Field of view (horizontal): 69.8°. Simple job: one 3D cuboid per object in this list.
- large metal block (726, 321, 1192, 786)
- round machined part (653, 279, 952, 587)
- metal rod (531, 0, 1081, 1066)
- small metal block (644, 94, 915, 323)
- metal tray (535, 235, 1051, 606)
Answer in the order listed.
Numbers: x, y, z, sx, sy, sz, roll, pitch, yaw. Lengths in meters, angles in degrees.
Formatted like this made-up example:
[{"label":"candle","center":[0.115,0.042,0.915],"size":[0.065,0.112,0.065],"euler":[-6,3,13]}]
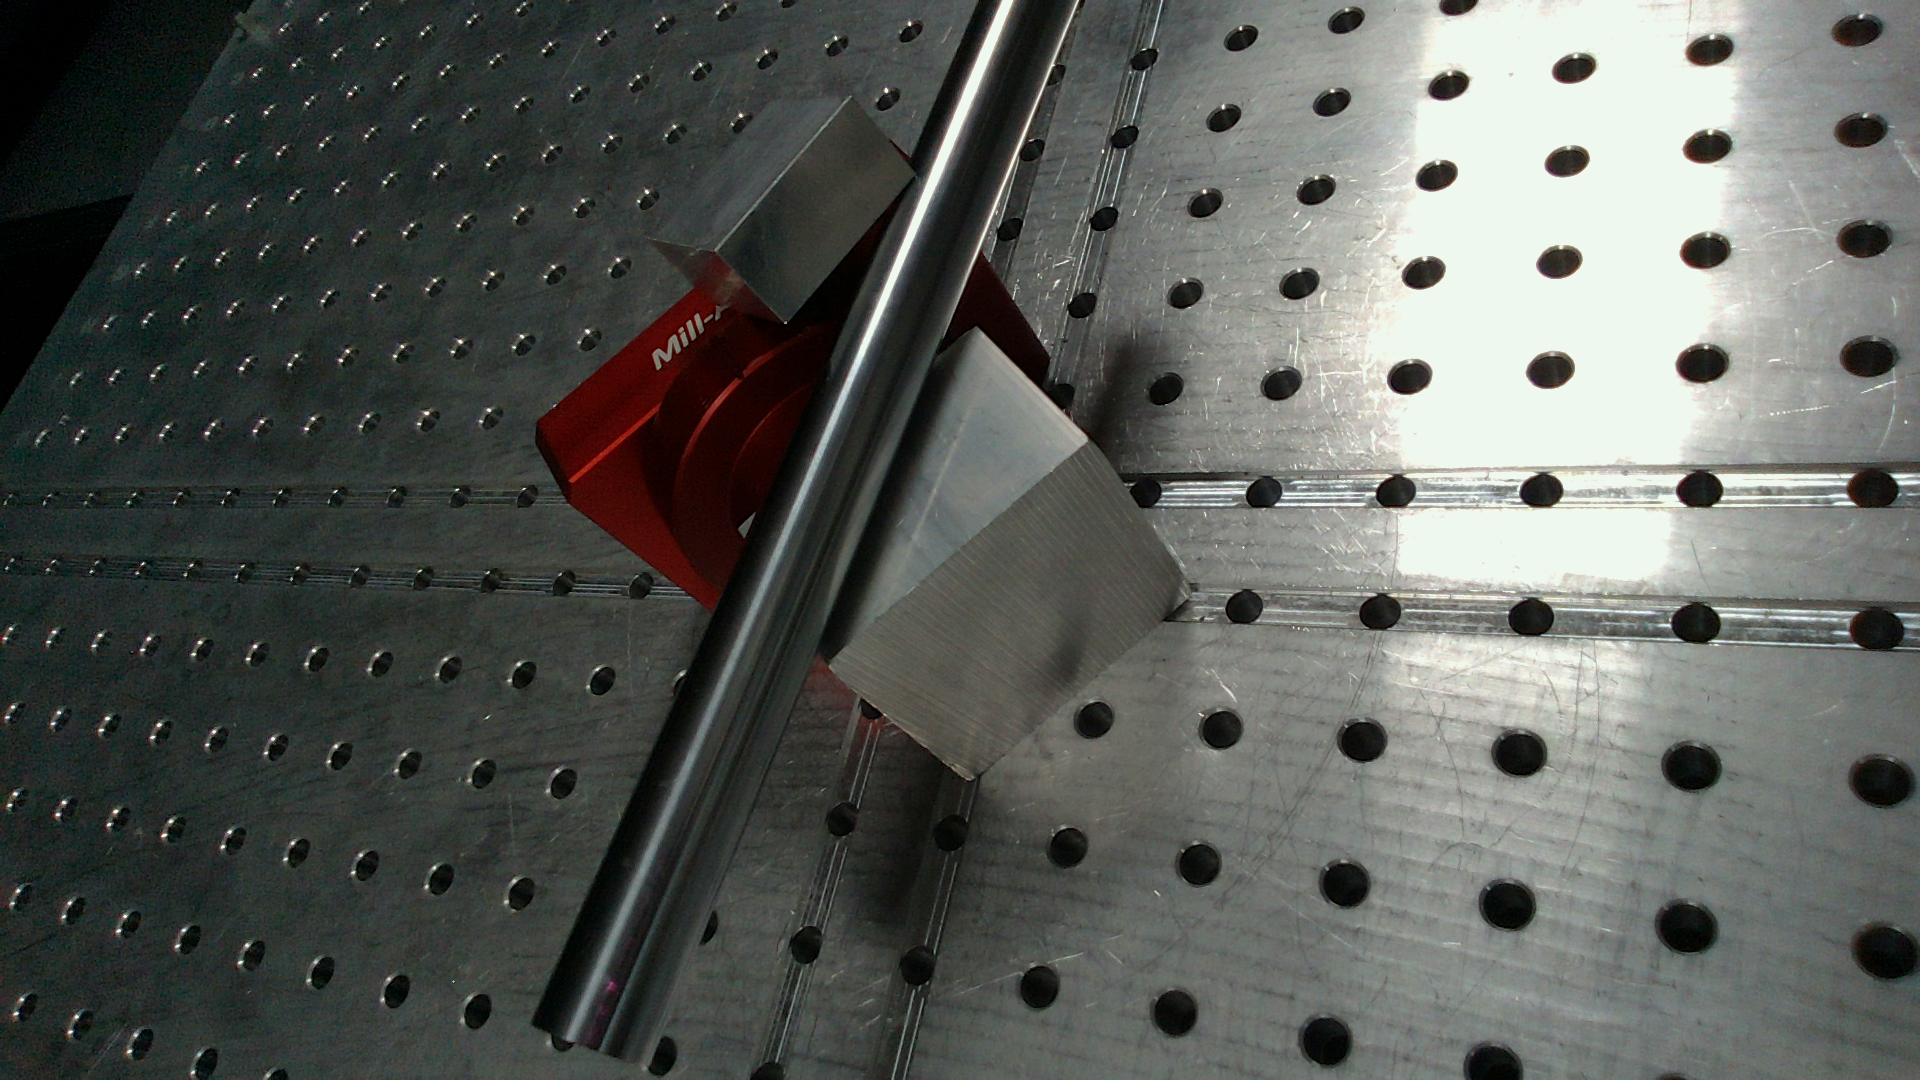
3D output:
[{"label":"large metal block","center":[0.002,0.006,0.352],"size":[0.080,0.080,0.050],"euler":[-40,51,1]},{"label":"round machined part","center":[-0.031,-0.019,0.384],"size":[0.098,0.098,0.042],"euler":[-41,51,0]},{"label":"metal rod","center":[-0.024,-0.032,0.325],"size":[0.025,0.025,0.300],"euler":[7,65,32]},{"label":"small metal block","center":[-0.047,-0.084,0.347],"size":[0.050,0.025,0.050],"euler":[-51,32,-10]},{"label":"metal tray","center":[-0.045,-0.042,0.405],"size":[0.130,0.090,0.030],"euler":[-40,51,1]}]
